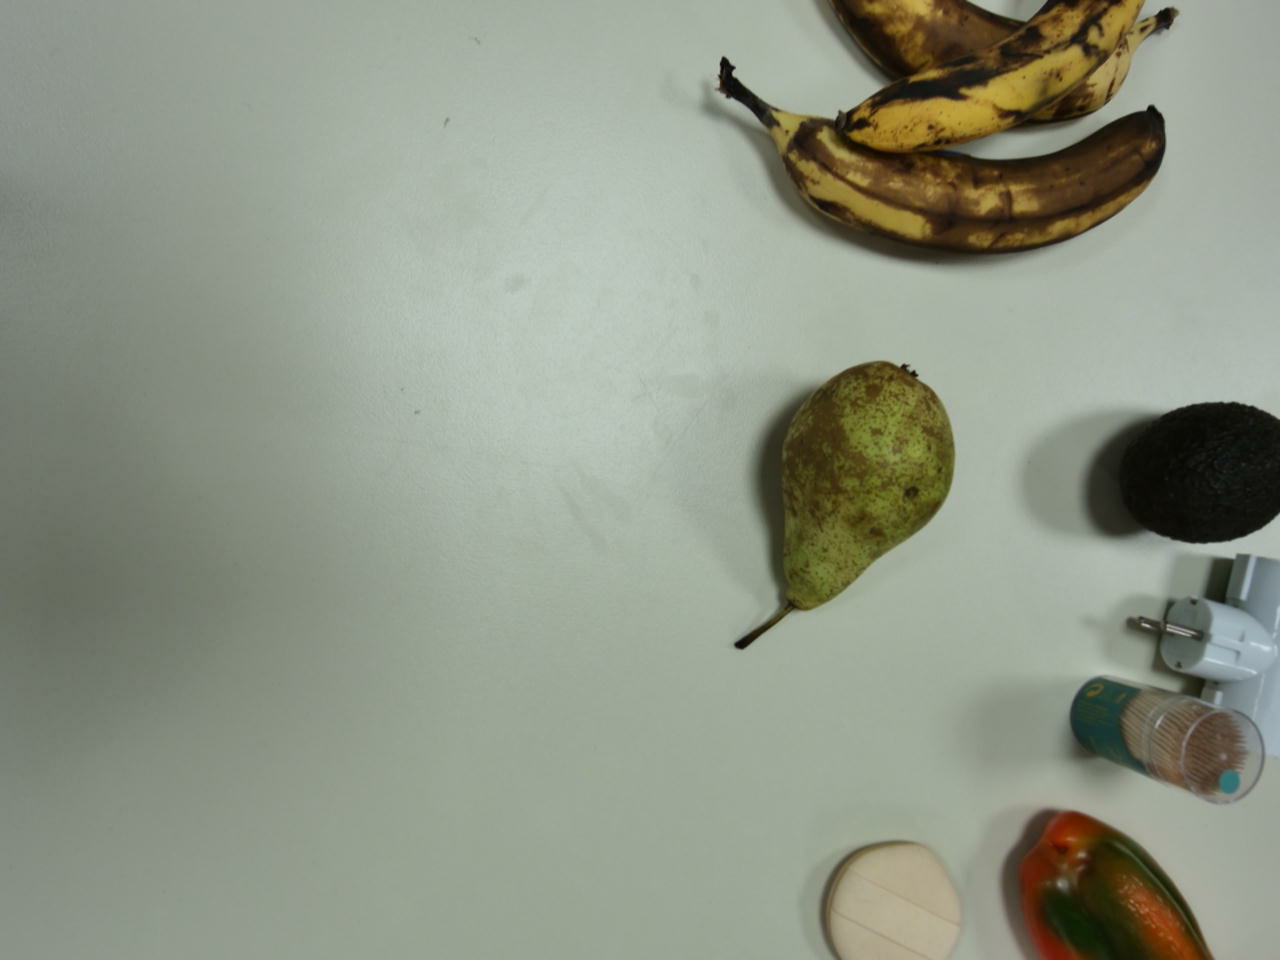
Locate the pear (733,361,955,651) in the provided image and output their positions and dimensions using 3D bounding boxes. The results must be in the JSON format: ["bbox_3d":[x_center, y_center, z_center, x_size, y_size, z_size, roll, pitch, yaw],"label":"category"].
[{"bbox_3d":[0.094,0.014,0.426,0.071,0.075,0.128,4,90,-12],"label":"pear"}]
